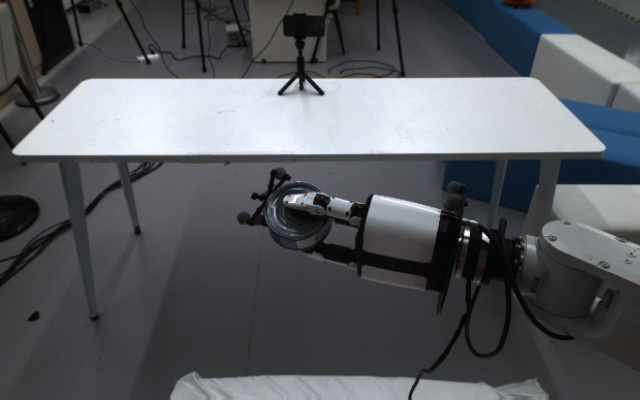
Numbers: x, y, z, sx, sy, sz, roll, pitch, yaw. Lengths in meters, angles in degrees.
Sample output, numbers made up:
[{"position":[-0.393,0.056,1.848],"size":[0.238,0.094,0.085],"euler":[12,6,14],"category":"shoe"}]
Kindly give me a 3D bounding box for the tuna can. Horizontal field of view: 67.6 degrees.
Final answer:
[{"position":[-0.024,0.023,0.619],"size":[0.085,0.034,0.085],"euler":[-1,61,2],"category":"tuna can"}]
